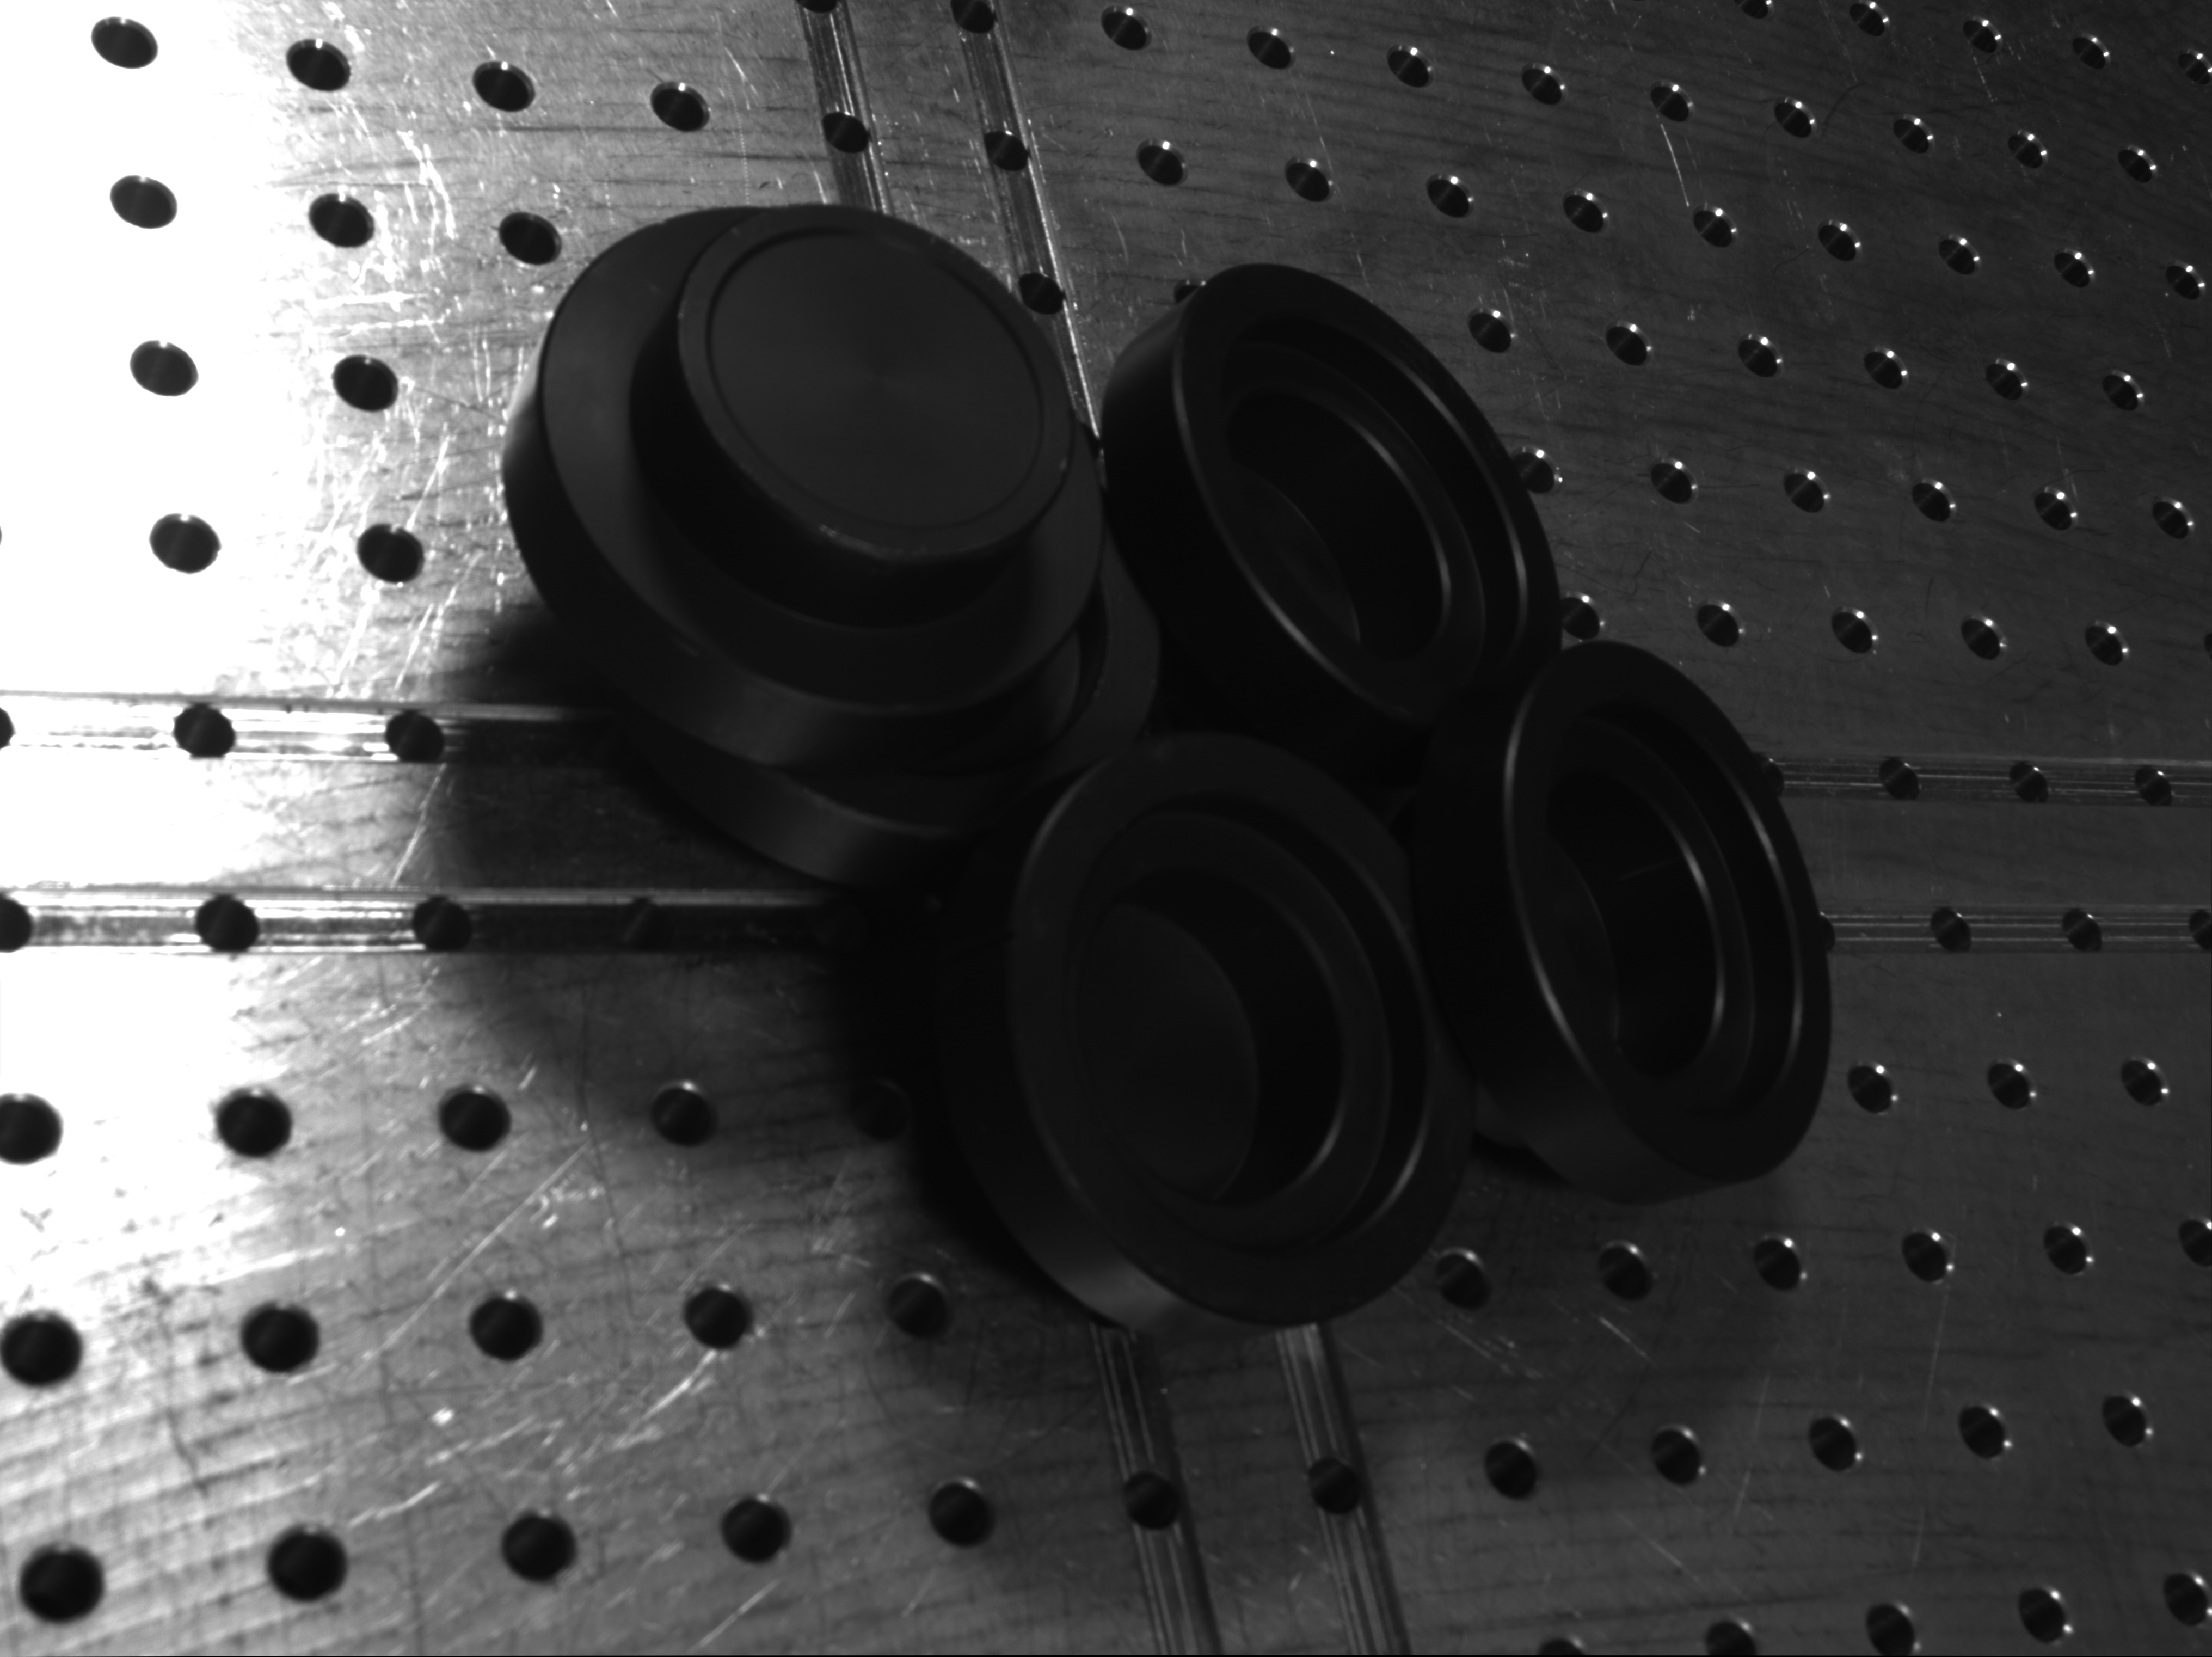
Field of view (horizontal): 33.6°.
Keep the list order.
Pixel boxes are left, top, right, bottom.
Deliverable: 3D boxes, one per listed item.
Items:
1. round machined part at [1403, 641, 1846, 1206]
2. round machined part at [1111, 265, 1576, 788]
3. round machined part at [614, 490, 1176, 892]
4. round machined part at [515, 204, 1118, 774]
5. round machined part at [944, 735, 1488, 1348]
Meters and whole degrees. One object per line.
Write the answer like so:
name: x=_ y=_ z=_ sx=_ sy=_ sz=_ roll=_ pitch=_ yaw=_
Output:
round machined part: x=0.087 y=0.020 z=0.652 sx=0.098 sy=0.042 sz=0.098 roll=24 pitch=56 yaw=-42
round machined part: x=0.037 y=-0.051 z=0.672 sx=0.098 sy=0.042 sz=0.098 roll=26 pitch=47 yaw=-32
round machined part: x=-0.041 y=-0.032 z=0.629 sx=0.098 sy=0.042 sz=0.098 roll=14 pitch=56 yaw=-21
round machined part: x=-0.042 y=-0.061 z=0.592 sx=0.098 sy=0.042 sz=0.098 roll=14 pitch=56 yaw=-21
round machined part: x=0.013 y=0.037 z=0.605 sx=0.098 sy=0.042 sz=0.098 roll=13 pitch=68 yaw=-35
